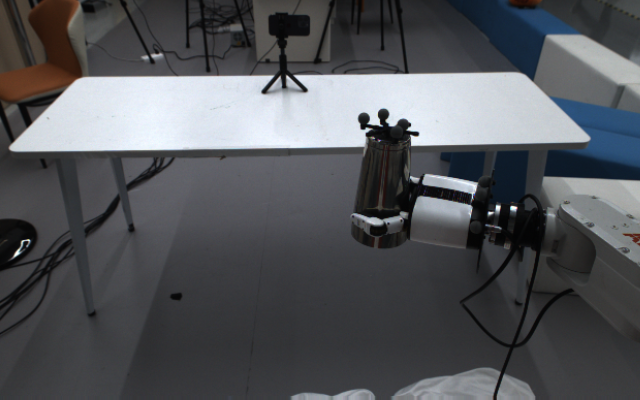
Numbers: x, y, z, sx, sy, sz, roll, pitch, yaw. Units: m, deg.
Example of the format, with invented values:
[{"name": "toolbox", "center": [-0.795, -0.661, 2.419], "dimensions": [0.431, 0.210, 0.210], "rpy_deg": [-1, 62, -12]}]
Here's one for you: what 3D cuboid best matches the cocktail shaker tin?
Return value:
[{"name": "cocktail shaker tin", "center": [0.099, -0.021, 0.752], "dimensions": [0.093, 0.170, 0.093], "rpy_deg": [1, 28, -1]}]
